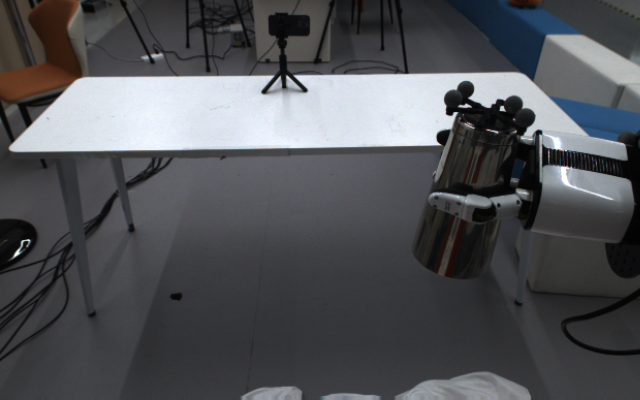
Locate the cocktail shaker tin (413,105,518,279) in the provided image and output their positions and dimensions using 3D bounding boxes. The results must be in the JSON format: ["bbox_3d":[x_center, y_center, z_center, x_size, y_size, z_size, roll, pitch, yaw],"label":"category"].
[{"bbox_3d":[0.164,-0.009,0.532,0.093,0.170,0.093,4,32,-2],"label":"cocktail shaker tin"}]
